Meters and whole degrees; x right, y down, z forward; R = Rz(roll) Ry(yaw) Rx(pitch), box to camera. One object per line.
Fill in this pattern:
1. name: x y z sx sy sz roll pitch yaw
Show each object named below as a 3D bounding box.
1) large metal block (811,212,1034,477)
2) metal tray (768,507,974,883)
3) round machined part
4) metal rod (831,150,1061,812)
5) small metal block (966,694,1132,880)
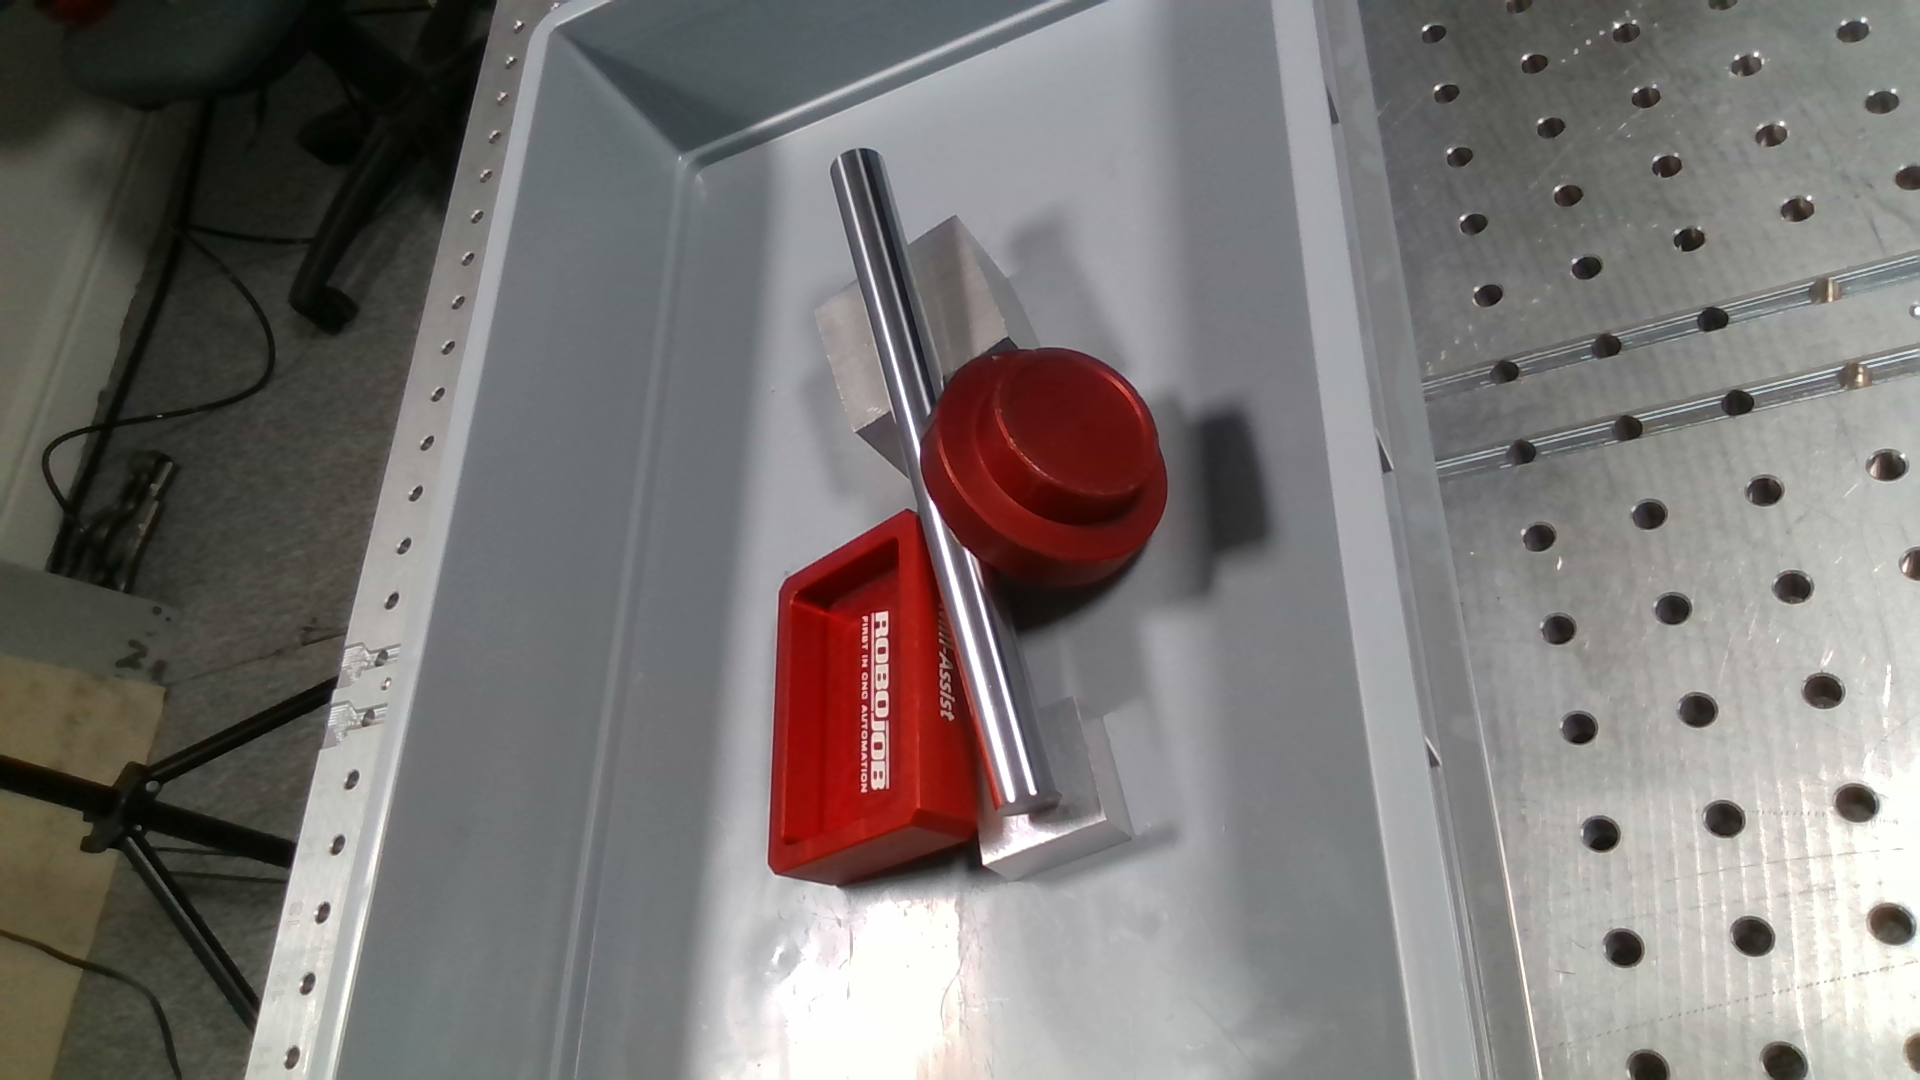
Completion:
1. large metal block: -0.012 -0.086 0.620 0.080 0.050 0.080 -30 53 15
2. metal tray: -0.037 0.063 0.552 0.090 0.030 0.130 -29 52 40
3. round machined part: 0.036 -0.035 0.530 0.042 0.098 0.098 126 146 -53
4. metal rod: -0.011 -0.037 0.552 0.025 0.025 0.299 -25 62 19
5. small metal block: 0.031 0.093 0.515 0.050 0.025 0.050 -25 55 19
